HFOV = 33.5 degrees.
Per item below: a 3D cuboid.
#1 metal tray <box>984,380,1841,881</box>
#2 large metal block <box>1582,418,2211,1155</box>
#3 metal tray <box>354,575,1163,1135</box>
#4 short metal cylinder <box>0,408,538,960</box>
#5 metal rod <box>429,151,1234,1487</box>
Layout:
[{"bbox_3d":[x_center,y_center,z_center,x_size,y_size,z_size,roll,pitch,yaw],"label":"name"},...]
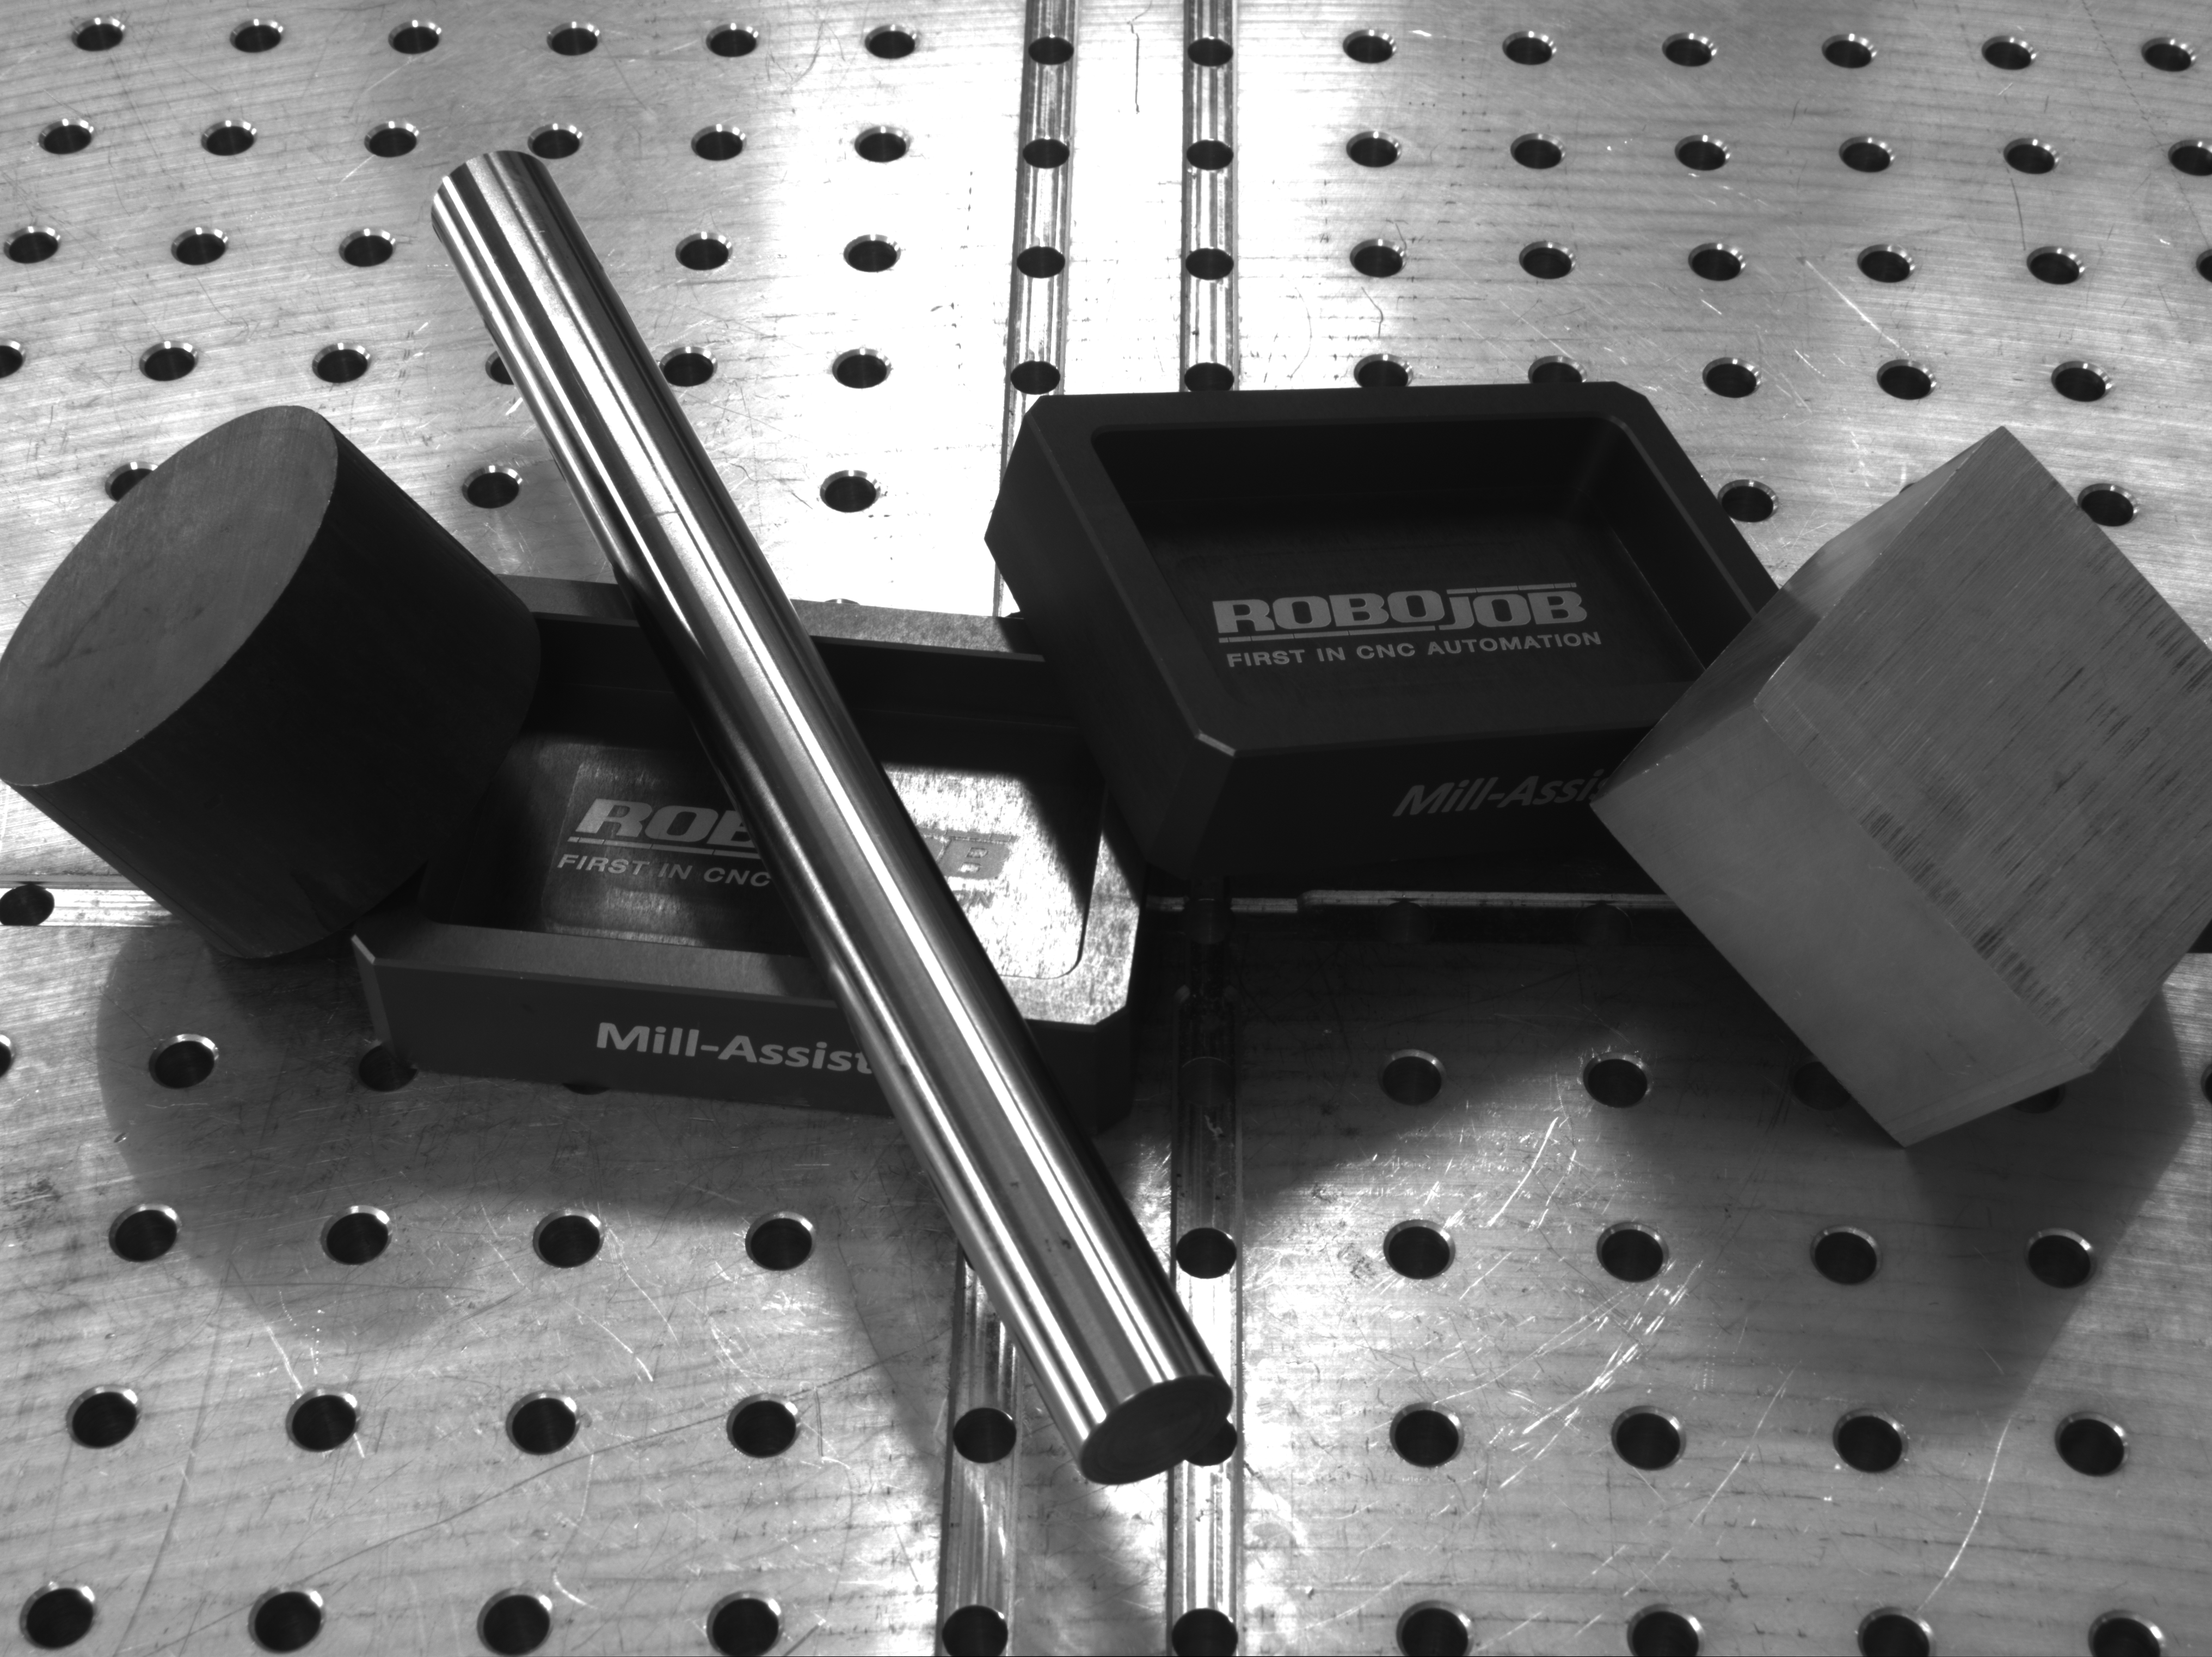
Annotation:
[{"bbox_3d":[0.055,-0.038,0.650,0.130,0.030,0.090,-5,48,-26],"label":"metal tray"},{"bbox_3d":[0.141,-0.007,0.612,0.080,0.050,0.080,47,60,-3],"label":"large metal block"},{"bbox_3d":[-0.055,0.003,0.640,0.130,0.030,0.090,5,50,4],"label":"metal tray"},{"bbox_3d":[-0.144,-0.025,0.627,0.080,0.050,0.080,-26,40,24],"label":"short metal cylinder"},{"bbox_3d":[-0.055,-0.016,0.620,0.025,0.025,0.299,-20,53,-16],"label":"metal rod"}]
